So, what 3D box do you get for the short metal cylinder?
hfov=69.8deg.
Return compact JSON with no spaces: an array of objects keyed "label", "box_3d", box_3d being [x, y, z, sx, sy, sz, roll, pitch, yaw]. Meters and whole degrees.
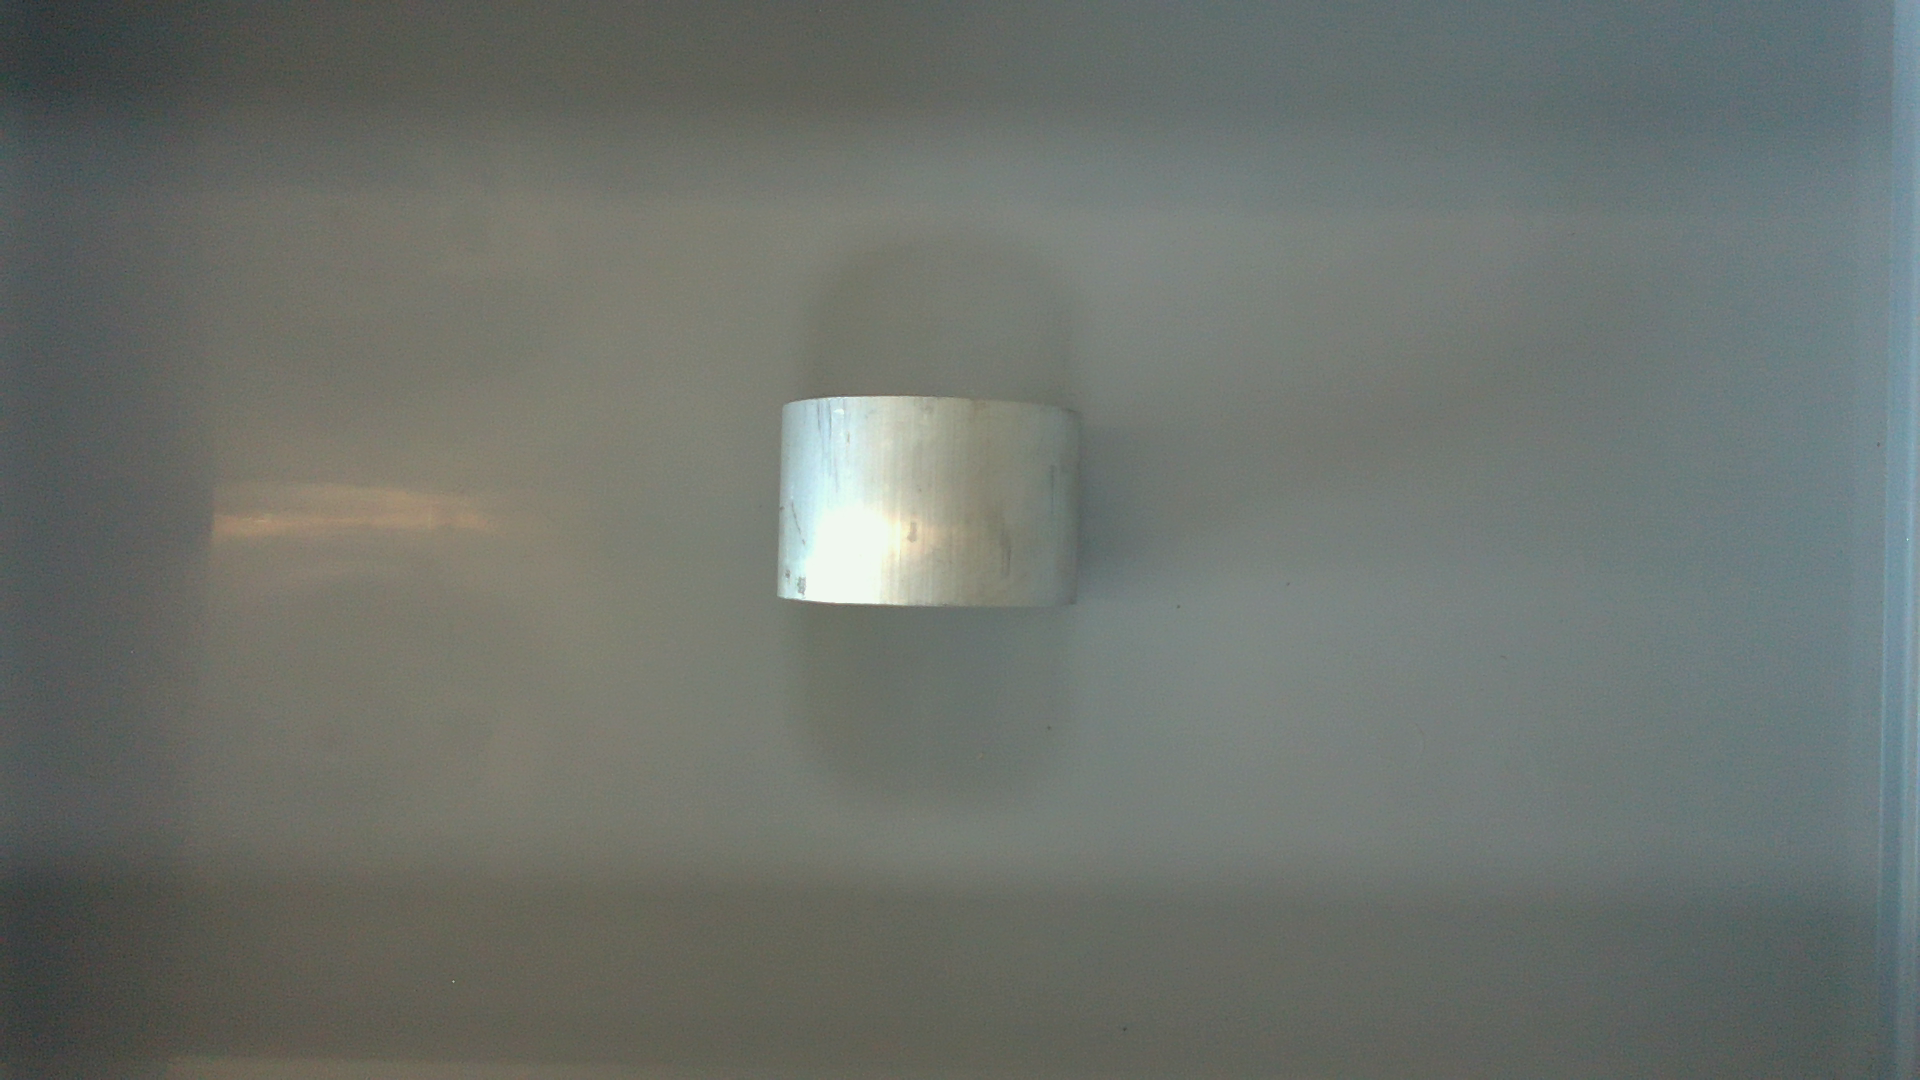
[{"label":"short metal cylinder","box_3d":[-0.008,-0.009,0.365,0.080,0.080,0.050,2,90,0]}]
